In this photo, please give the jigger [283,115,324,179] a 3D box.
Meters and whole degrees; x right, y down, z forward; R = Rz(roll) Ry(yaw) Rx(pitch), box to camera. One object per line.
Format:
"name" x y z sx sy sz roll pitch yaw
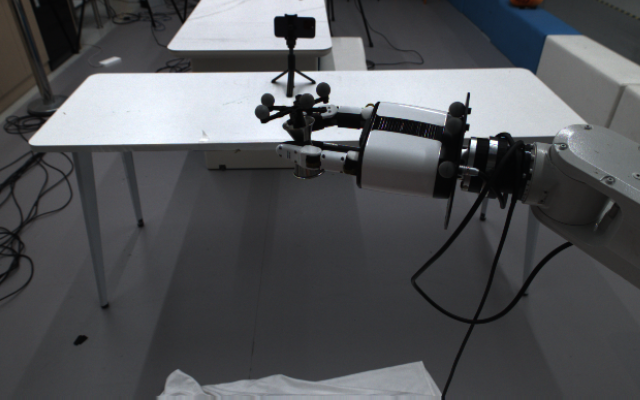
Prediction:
"jigger" -0.019 -0.065 0.605 0.043 0.071 0.043 -10 32 6
